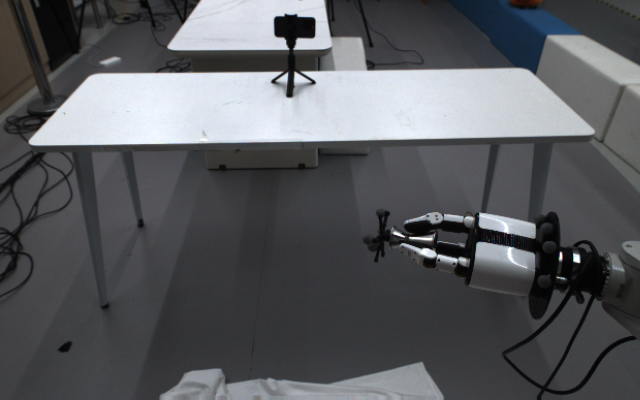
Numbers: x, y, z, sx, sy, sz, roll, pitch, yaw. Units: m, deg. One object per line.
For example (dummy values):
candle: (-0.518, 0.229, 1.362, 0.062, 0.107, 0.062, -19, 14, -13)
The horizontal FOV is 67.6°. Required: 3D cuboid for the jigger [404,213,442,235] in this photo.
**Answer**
jigger: (0.154, 0.057, 0.760, 0.071, 0.043, 0.043, 6, 34, 22)
